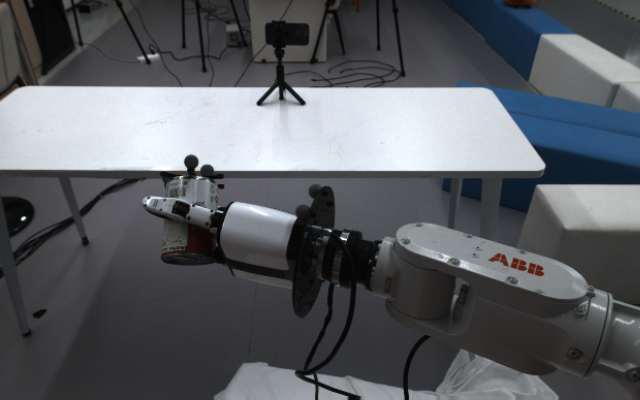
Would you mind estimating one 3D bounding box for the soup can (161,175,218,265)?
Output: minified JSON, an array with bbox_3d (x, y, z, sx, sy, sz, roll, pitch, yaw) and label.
[{"bbox_3d":[-0.162,0.028,0.614,0.067,0.067,0.101,-1,71,-5],"label":"soup can"}]
